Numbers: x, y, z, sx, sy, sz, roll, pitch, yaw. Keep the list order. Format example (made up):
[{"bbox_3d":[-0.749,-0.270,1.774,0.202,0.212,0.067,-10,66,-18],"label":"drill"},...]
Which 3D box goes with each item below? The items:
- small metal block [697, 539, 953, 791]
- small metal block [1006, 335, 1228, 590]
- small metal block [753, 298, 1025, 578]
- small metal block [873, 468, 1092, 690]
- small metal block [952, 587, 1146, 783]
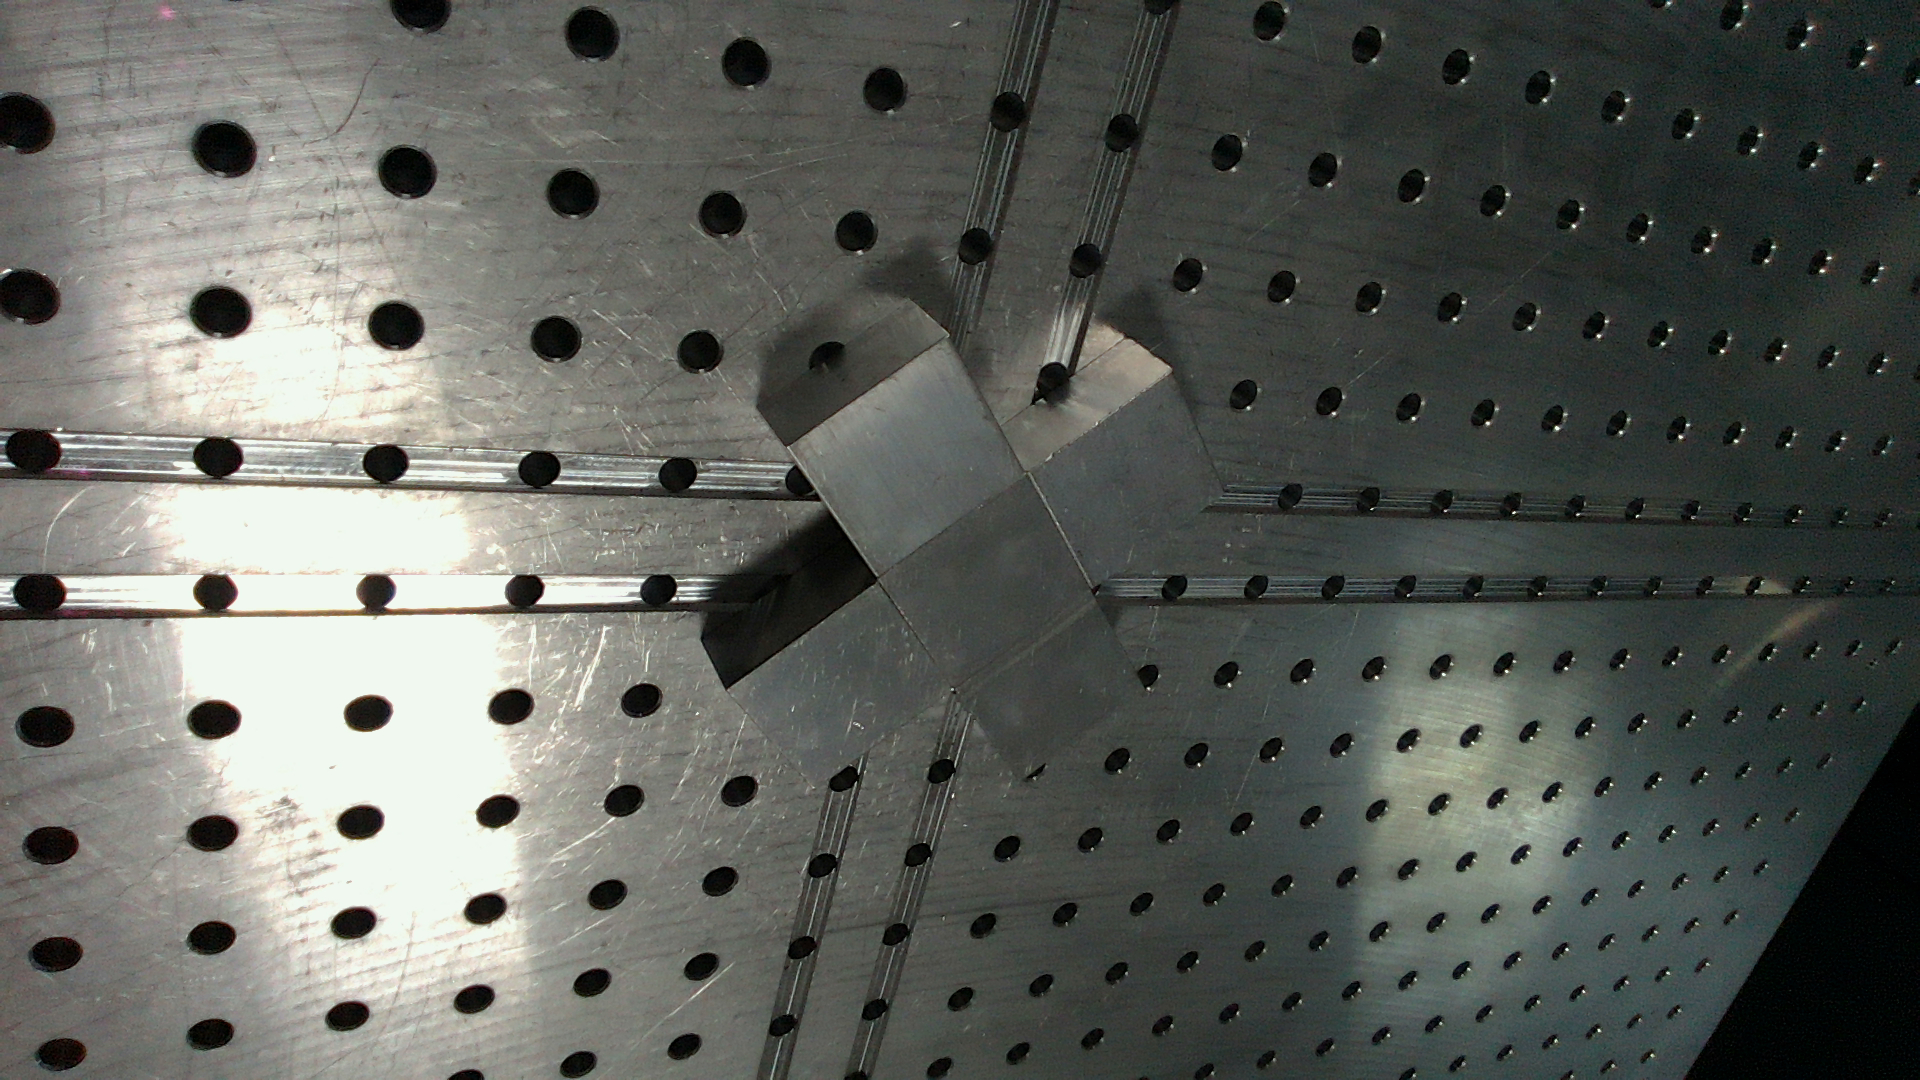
[{"bbox_3d":[-0.038,0.036,0.394,0.050,0.025,0.050,-36,129,-5],"label":"small metal block"},{"bbox_3d":[0.044,-0.022,0.402,0.050,0.025,0.050,-36,129,-5],"label":"small metal block"},{"bbox_3d":[-0.018,-0.027,0.366,0.050,0.025,0.050,-35,129,-5],"label":"small metal block"},{"bbox_3d":[0.003,0.007,0.397,0.050,0.025,0.050,-36,129,-5],"label":"small metal block"},{"bbox_3d":[0.023,0.040,0.429,0.050,0.025,0.050,-35,129,-5],"label":"small metal block"}]
